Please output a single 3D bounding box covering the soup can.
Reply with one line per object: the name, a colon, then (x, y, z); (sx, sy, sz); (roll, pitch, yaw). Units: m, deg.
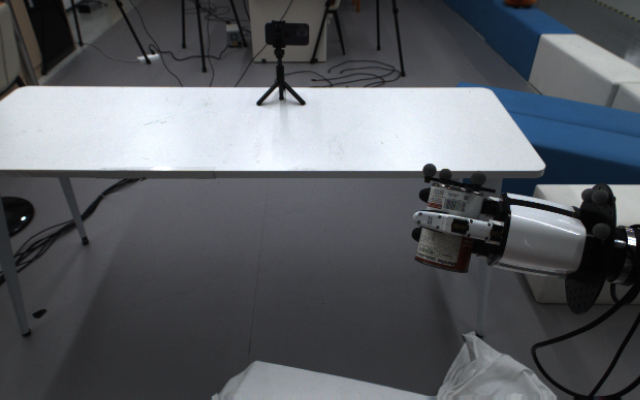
soup can: (0.166, 0.034, 0.616); (0.067, 0.101, 0.067); (12, 2, -1)
